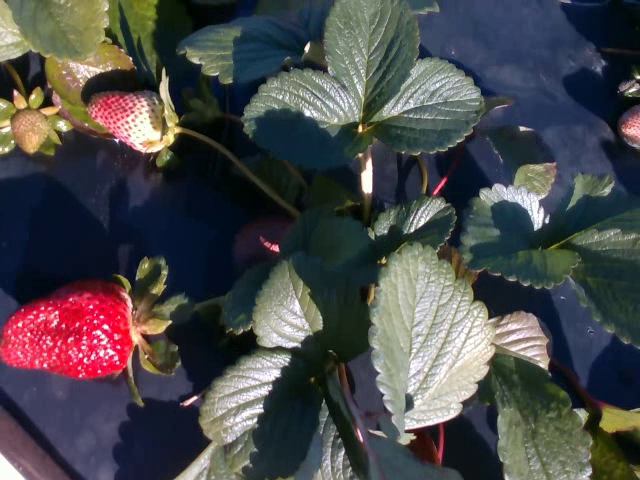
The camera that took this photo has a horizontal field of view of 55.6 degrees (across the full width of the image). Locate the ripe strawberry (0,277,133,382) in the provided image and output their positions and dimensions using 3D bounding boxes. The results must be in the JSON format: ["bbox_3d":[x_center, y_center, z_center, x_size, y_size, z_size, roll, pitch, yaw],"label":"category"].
[{"bbox_3d":[-0.108,0.038,0.258,0.058,0.066,0.061,5,13,38],"label":"ripe strawberry"}]
